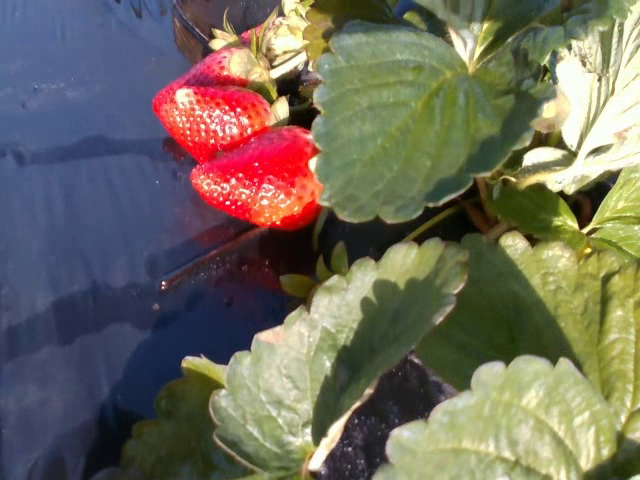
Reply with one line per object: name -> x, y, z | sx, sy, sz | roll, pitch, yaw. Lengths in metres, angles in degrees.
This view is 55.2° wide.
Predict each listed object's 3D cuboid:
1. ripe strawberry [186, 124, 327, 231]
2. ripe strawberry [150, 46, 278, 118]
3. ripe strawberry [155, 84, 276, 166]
ripe strawberry -> -0.023, -0.018, 0.182 | 0.041, 0.034, 0.035 | 3, 39, -32
ripe strawberry -> -0.041, -0.056, 0.222 | 0.045, 0.032, 0.023 | -22, -41, -4
ripe strawberry -> -0.034, -0.040, 0.198 | 0.039, 0.031, 0.036 | 21, -49, -35
